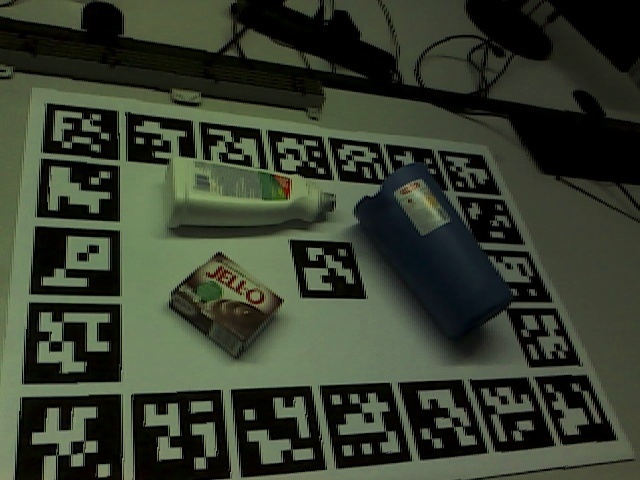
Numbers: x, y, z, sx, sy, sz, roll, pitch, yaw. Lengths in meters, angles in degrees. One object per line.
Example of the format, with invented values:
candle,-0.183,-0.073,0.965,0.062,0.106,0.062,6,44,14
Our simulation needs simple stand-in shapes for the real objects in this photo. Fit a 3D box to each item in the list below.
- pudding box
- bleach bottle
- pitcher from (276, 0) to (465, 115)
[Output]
pudding box,-0.176,-0.065,0.655,0.114,0.090,0.038,23,-172,0
bleach bottle,-0.252,-0.162,0.688,0.103,0.068,0.249,-18,160,14
pitcher,0.061,-0.213,0.570,0.133,0.188,0.243,-52,-173,-20
